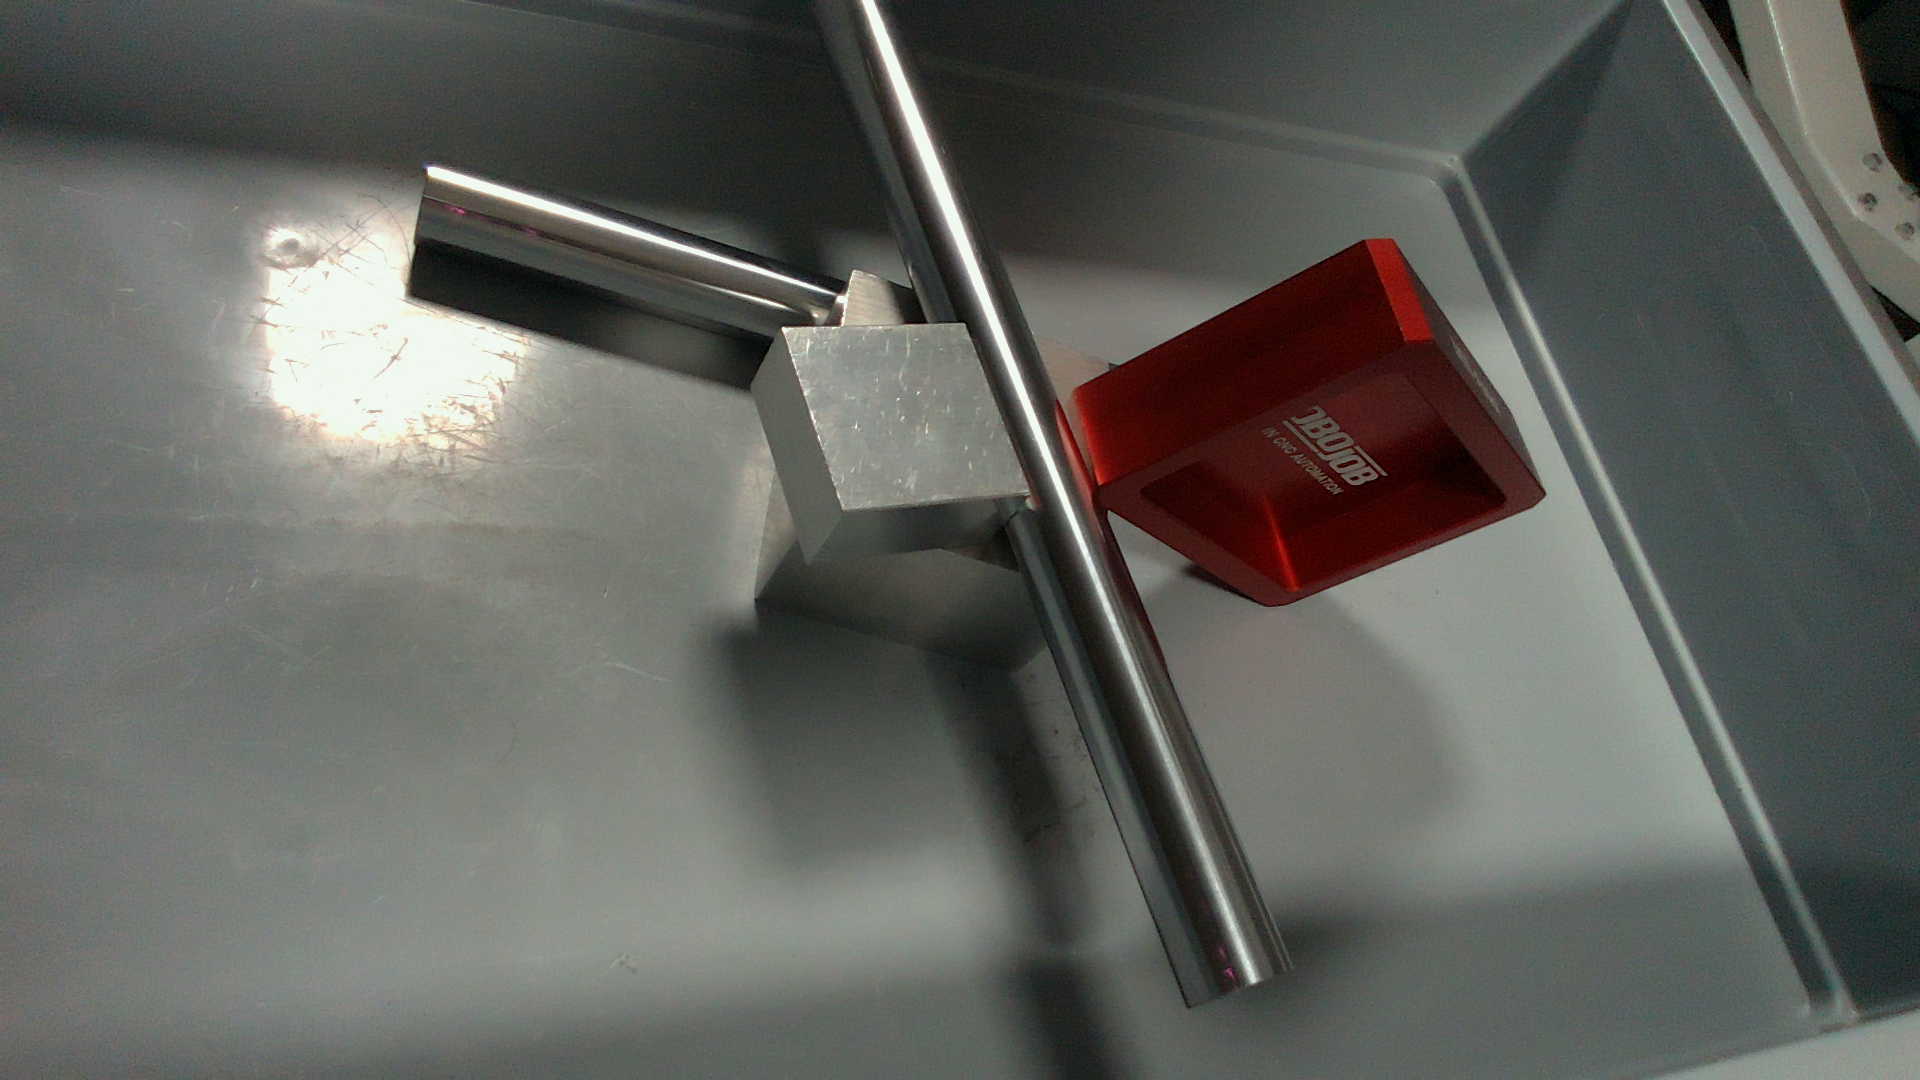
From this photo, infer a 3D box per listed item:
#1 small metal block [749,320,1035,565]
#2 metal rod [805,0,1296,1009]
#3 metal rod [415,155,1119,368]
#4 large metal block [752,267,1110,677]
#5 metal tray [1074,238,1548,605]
[{"bbox_3d":[-0.017,-0.024,0.330,0.050,0.025,0.050,-7,64,-31],"label":"small metal block"},{"bbox_3d":[0.013,-0.034,0.352,0.025,0.025,0.300,-7,65,-31],"label":"metal rod"},{"bbox_3d":[-0.006,-0.057,0.421,0.301,0.025,0.025,14,56,-21],"label":"metal rod"},{"bbox_3d":[-0.006,-0.017,0.380,0.080,0.050,0.080,17,55,-19],"label":"large metal block"},{"bbox_3d":[0.101,-0.025,0.382,0.130,0.090,0.030,26,45,-53],"label":"metal tray"}]
